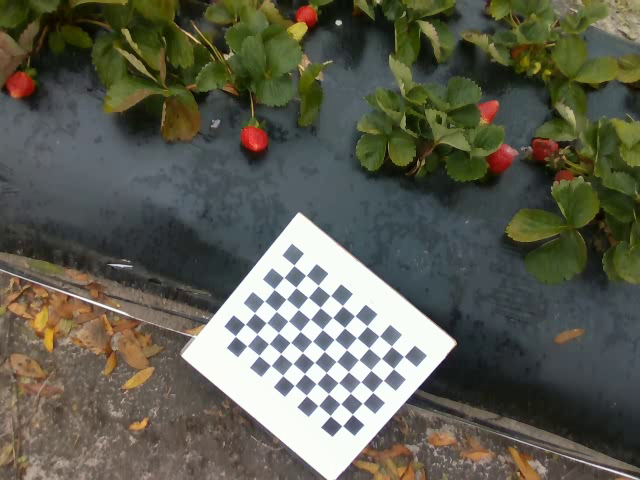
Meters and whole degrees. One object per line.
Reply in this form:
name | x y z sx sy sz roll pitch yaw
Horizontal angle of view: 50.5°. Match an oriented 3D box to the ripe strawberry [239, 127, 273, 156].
ripe strawberry | -0.103 -0.156 1.045 0.045 0.053 0.048 -12 -45 7
